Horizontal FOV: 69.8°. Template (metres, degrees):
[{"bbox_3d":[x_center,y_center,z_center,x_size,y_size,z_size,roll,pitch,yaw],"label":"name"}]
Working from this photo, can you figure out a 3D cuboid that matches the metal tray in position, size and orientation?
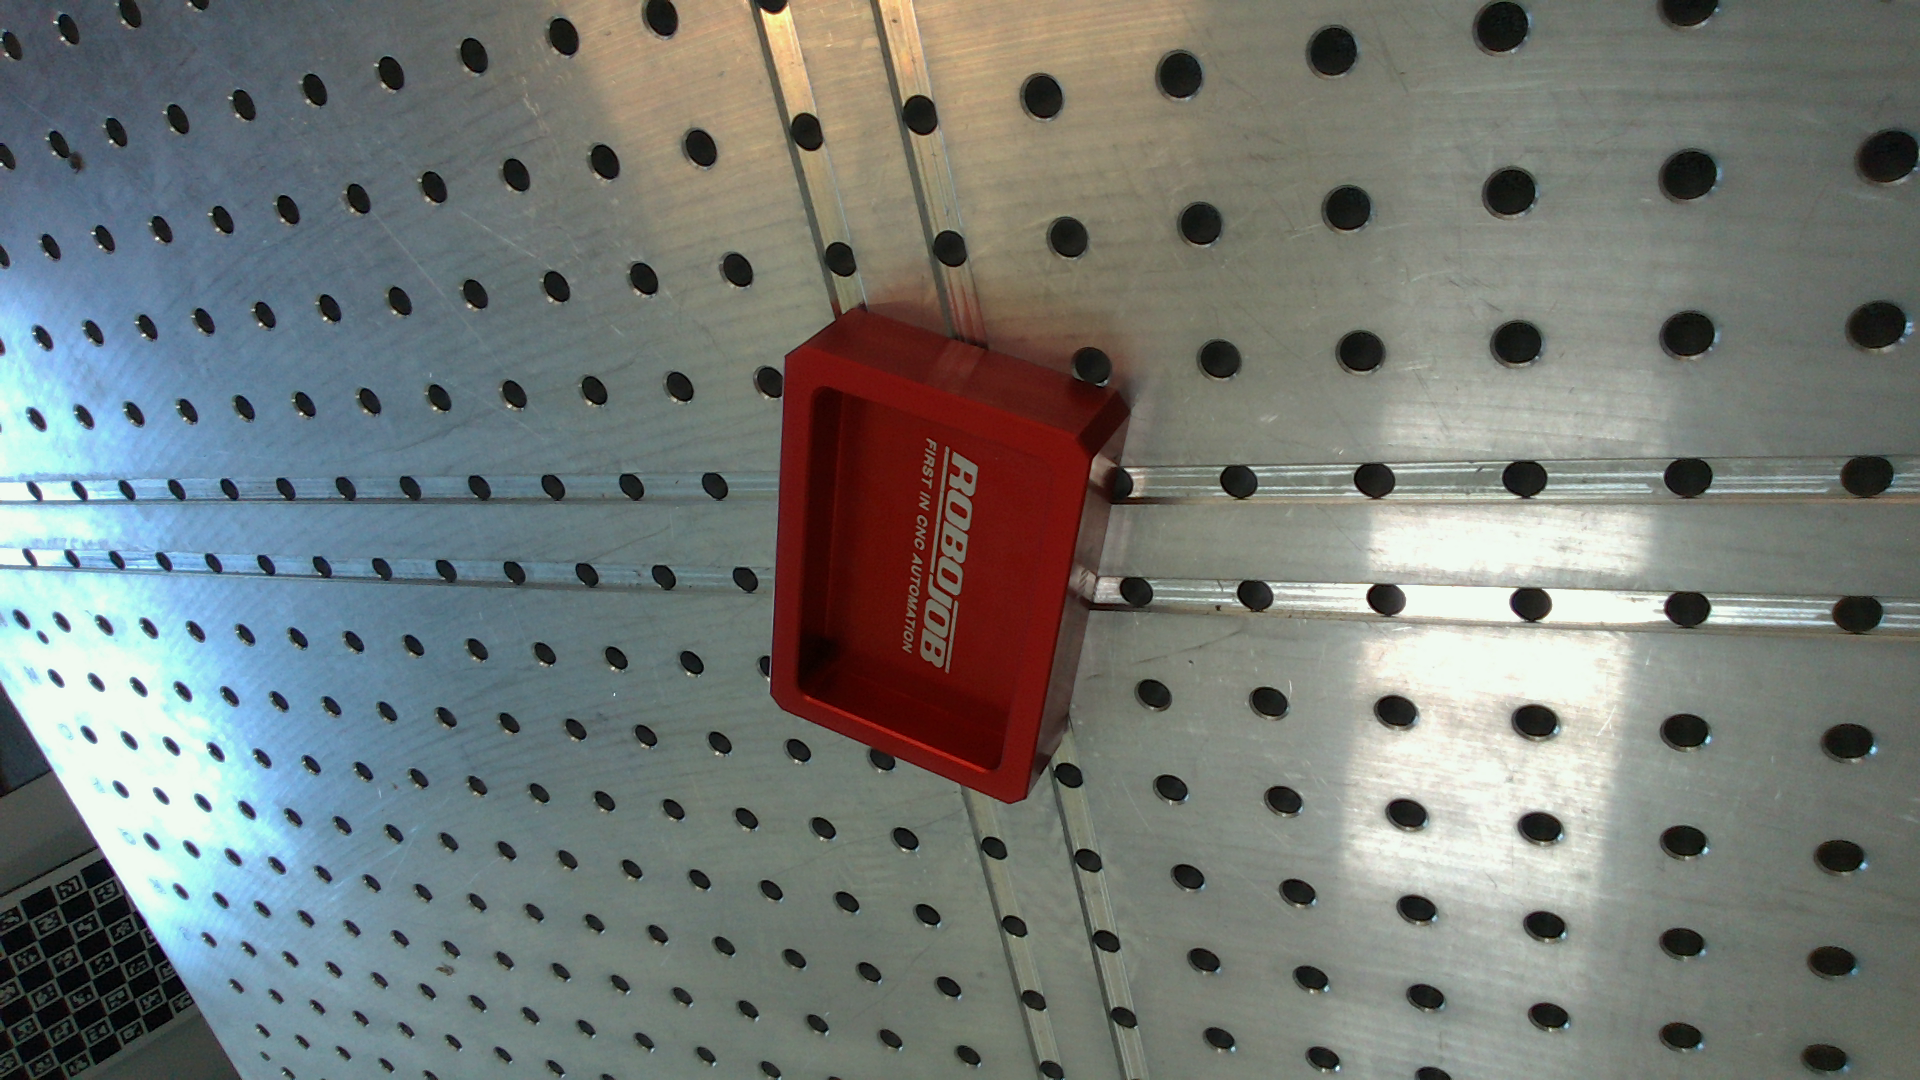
[{"bbox_3d":[-0.008,0.007,0.401,0.090,0.030,0.130,19,126,16],"label":"metal tray"}]
